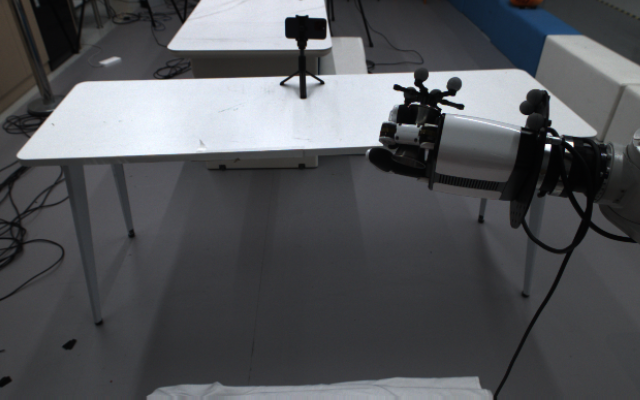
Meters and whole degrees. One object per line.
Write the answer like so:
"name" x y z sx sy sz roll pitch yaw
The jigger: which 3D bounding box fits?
"jigger" 0.118 -0.078 0.587 0.043 0.071 0.043 19 -6 2
